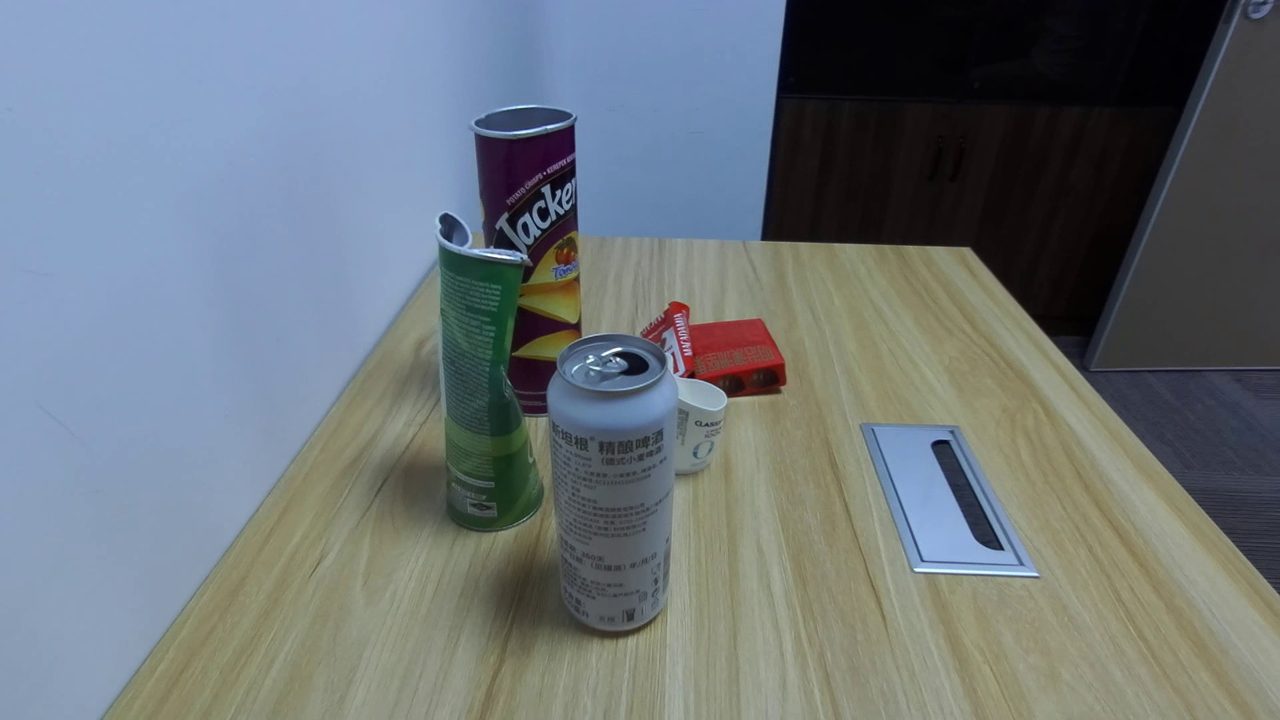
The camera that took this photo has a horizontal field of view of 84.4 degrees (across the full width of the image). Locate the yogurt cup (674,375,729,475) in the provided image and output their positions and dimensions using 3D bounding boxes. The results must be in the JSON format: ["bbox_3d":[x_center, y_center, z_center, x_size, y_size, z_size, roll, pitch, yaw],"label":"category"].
[{"bbox_3d":[0.032,0.041,0.527,0.075,0.071,0.054,19,36,25],"label":"yogurt cup"}]

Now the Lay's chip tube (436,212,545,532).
[{"bbox_3d":[-0.101,0.014,0.453,0.077,0.201,0.069,13,33,15],"label":"Lay's chip tube"}]

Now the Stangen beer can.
[{"bbox_3d":[-0.014,0.072,0.389,0.067,0.171,0.067,0,32,0],"label":"Stangen beer can"}]

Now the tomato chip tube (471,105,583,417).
[{"bbox_3d":[-0.083,-0.071,0.559,0.080,0.234,0.076,-17,35,-26],"label":"tomato chip tube"}]

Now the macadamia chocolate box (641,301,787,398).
[{"bbox_3d":[0.064,-0.002,0.644,0.126,0.056,0.112,1,46,-4],"label":"macadamia chocolate box"}]
